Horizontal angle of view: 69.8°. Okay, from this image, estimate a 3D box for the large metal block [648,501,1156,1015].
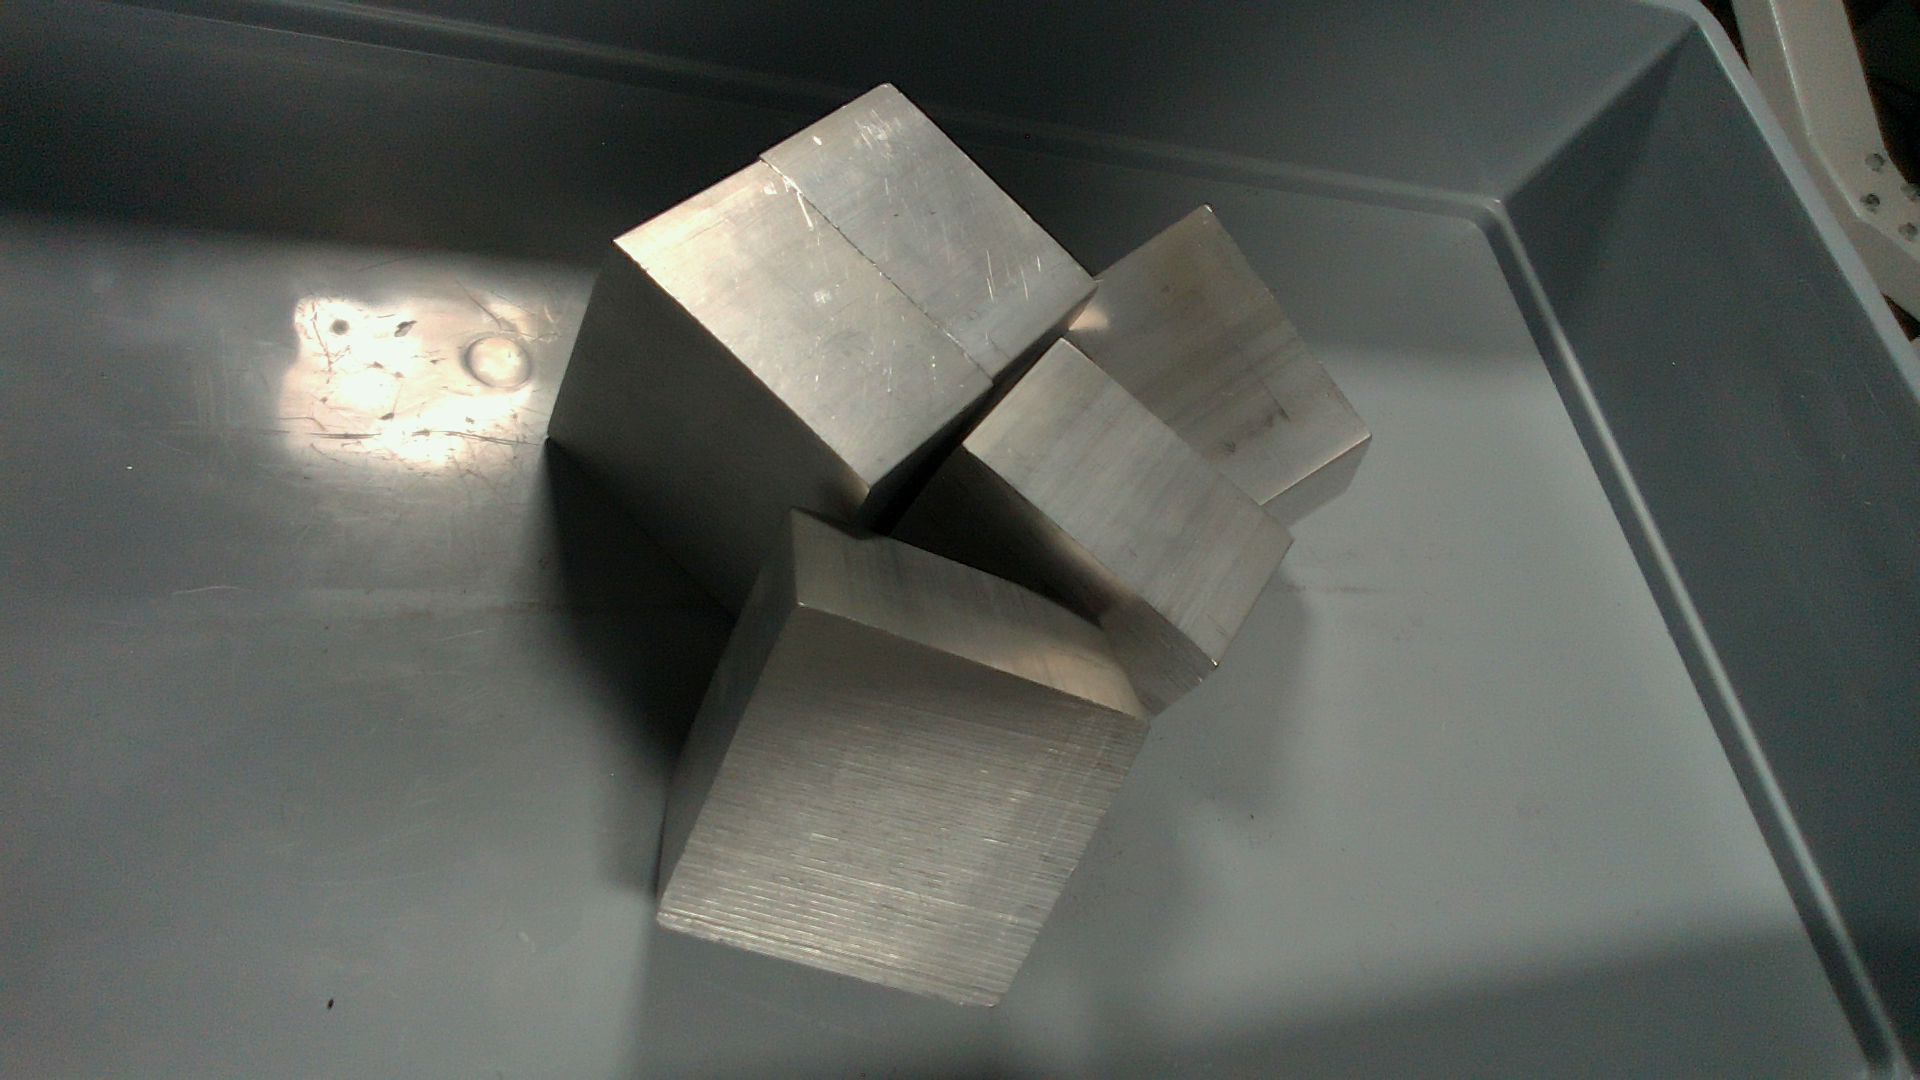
[{"bbox_3d":[-0.015,0.049,0.306,0.080,0.080,0.050,20,19,-16],"label":"large metal block"}]

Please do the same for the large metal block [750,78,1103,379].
[{"bbox_3d":[-0.021,-0.063,0.380,0.080,0.080,0.050,43,51,2],"label":"large metal block"}]

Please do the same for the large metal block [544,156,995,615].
[{"bbox_3d":[-0.051,-0.033,0.346,0.080,0.080,0.050,44,51,3],"label":"large metal block"}]

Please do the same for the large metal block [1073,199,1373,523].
[{"bbox_3d":[0.073,-0.040,0.409,0.050,0.080,0.080,-33,77,3],"label":"large metal block"}]

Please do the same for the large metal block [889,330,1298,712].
[{"bbox_3d":[0.026,0.007,0.362,0.080,0.080,0.050,41,51,0],"label":"large metal block"}]
